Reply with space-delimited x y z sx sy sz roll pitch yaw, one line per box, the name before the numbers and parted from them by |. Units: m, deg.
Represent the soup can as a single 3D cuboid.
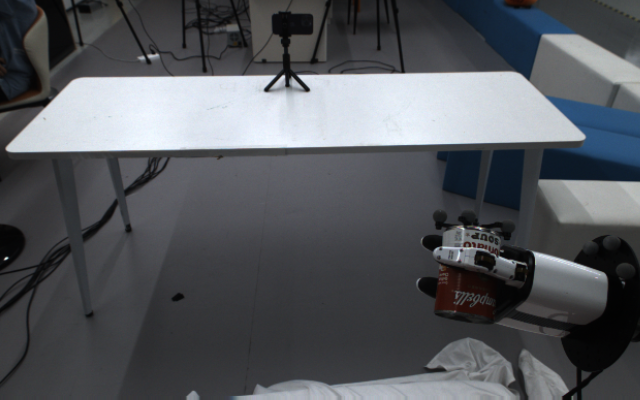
soup can | 0.174 0.087 0.563 0.067 0.067 0.101 8 72 9
